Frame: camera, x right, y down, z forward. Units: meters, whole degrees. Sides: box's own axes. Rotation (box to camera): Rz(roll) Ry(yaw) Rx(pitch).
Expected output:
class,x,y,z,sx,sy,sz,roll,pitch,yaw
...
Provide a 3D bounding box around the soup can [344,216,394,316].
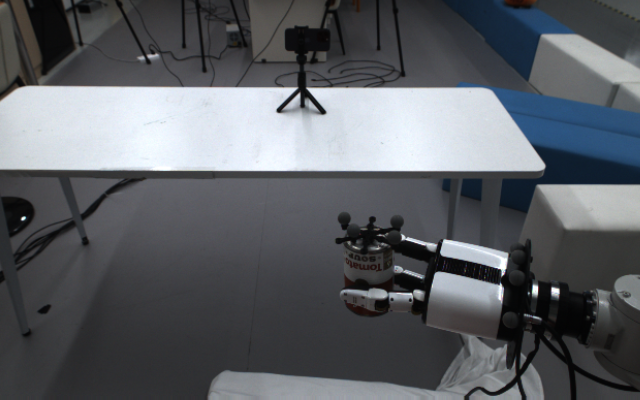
class,x,y,z,sx,sy,sz,roll,pitch,yaw
soup can,0.067,0.092,0.641,0.067,0.101,0.067,-3,27,2
